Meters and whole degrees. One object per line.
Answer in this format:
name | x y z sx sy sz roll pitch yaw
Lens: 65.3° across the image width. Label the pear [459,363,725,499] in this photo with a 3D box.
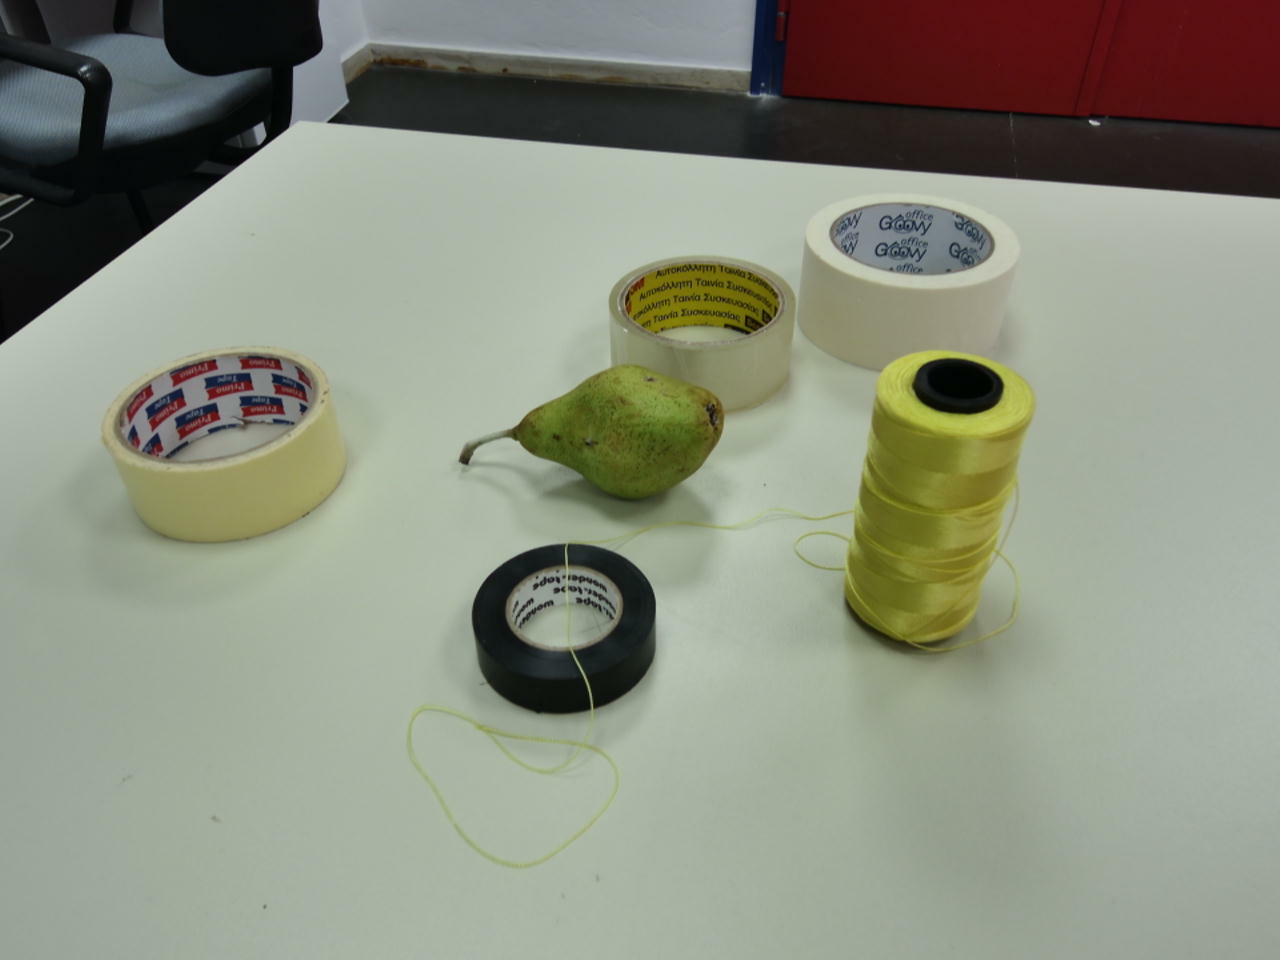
pear | -0.019 -0.026 0.426 0.111 0.056 0.056 18 42 23
